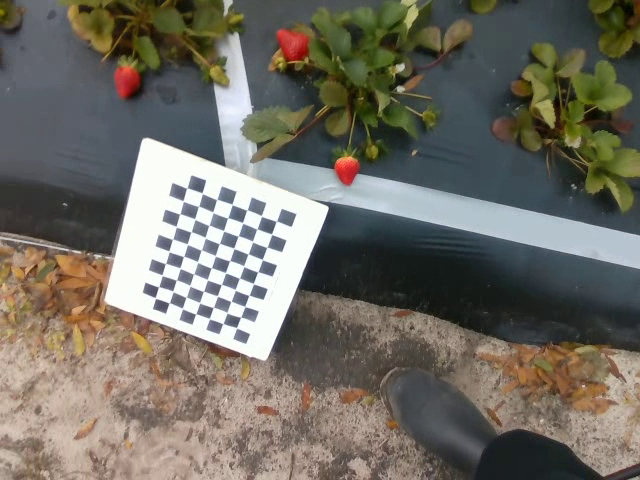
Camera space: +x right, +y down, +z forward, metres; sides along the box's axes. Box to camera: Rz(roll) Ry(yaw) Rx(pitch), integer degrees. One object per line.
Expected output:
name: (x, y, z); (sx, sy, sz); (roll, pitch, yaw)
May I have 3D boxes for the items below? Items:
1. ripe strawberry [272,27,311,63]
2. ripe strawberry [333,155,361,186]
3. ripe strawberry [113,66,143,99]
ripe strawberry: (-0.035, -0.275, 0.784); (0.062, 0.043, 0.043); (41, 25, -3)
ripe strawberry: (0.037, -0.100, 0.786); (0.039, 0.047, 0.041); (-9, 13, 19)
ripe strawberry: (-0.247, -0.208, 0.736); (0.036, 0.046, 0.040); (11, -23, 12)
